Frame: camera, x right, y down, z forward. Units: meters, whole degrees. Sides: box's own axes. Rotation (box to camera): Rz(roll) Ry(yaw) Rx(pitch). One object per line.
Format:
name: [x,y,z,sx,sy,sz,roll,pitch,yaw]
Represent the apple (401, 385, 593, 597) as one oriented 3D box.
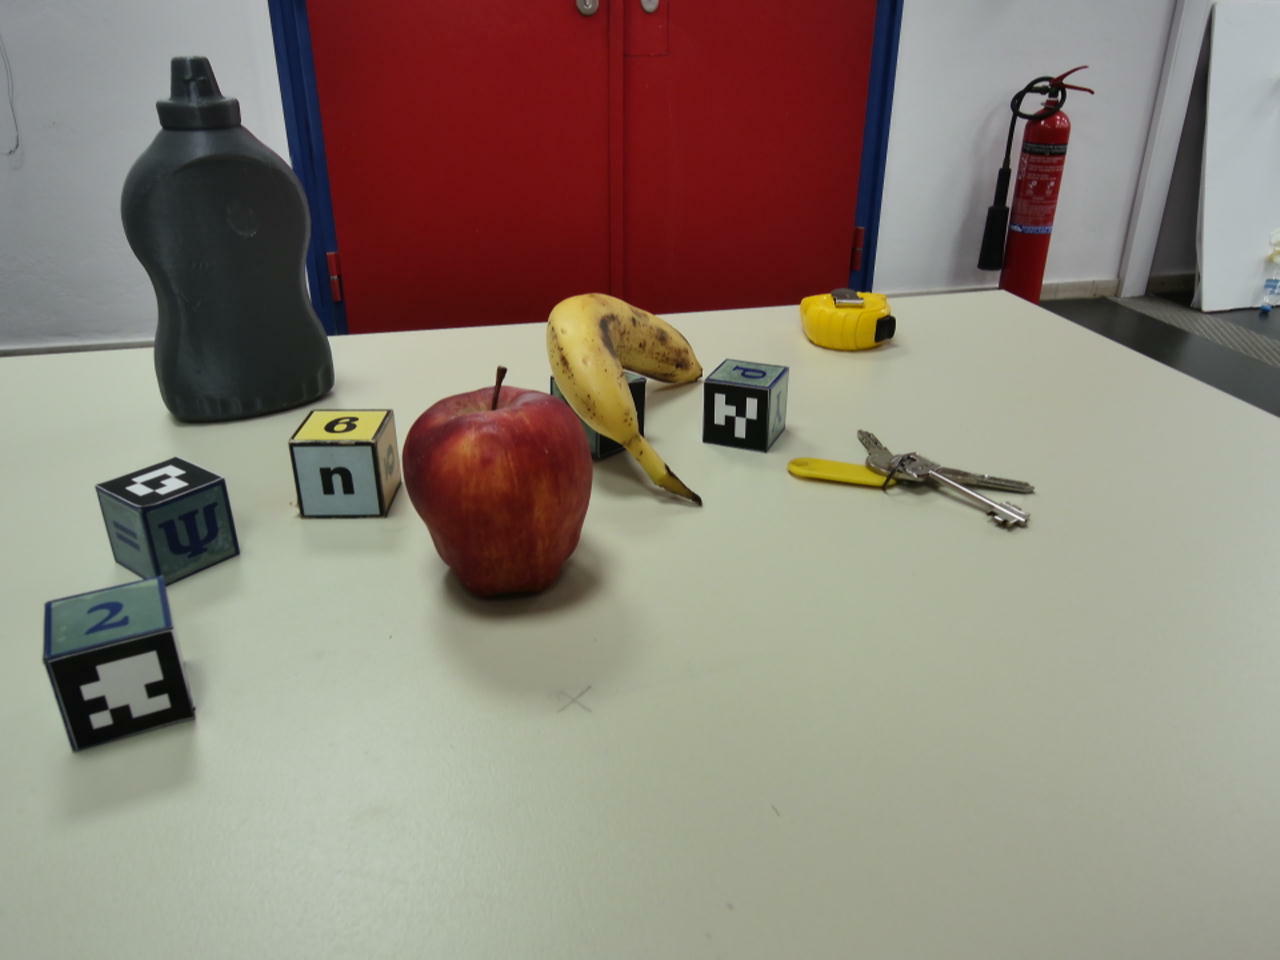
apple: [-0.059,-0.002,0.413,0.083,0.090,0.083,1,24,-1]
